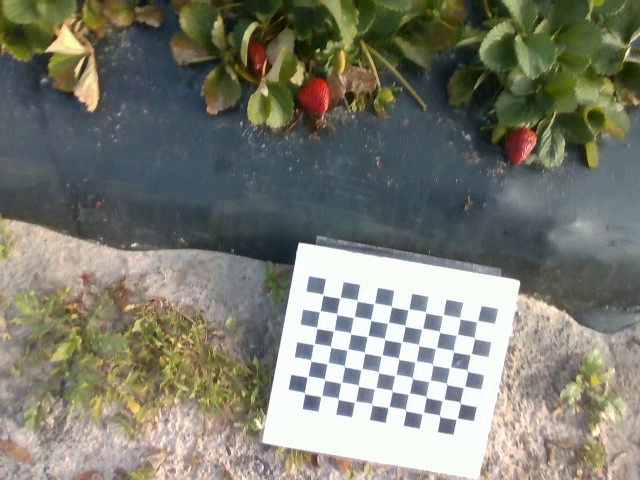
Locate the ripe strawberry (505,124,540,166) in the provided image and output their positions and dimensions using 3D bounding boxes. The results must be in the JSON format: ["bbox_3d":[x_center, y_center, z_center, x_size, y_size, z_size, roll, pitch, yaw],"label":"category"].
[{"bbox_3d":[0.166,-0.077,0.615,0.029,0.036,0.021,12,-4,2],"label":"ripe strawberry"}]

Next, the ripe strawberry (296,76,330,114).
[{"bbox_3d":[-0.004,-0.117,0.600,0.031,0.030,0.026,-27,-15,-1],"label":"ripe strawberry"}]
